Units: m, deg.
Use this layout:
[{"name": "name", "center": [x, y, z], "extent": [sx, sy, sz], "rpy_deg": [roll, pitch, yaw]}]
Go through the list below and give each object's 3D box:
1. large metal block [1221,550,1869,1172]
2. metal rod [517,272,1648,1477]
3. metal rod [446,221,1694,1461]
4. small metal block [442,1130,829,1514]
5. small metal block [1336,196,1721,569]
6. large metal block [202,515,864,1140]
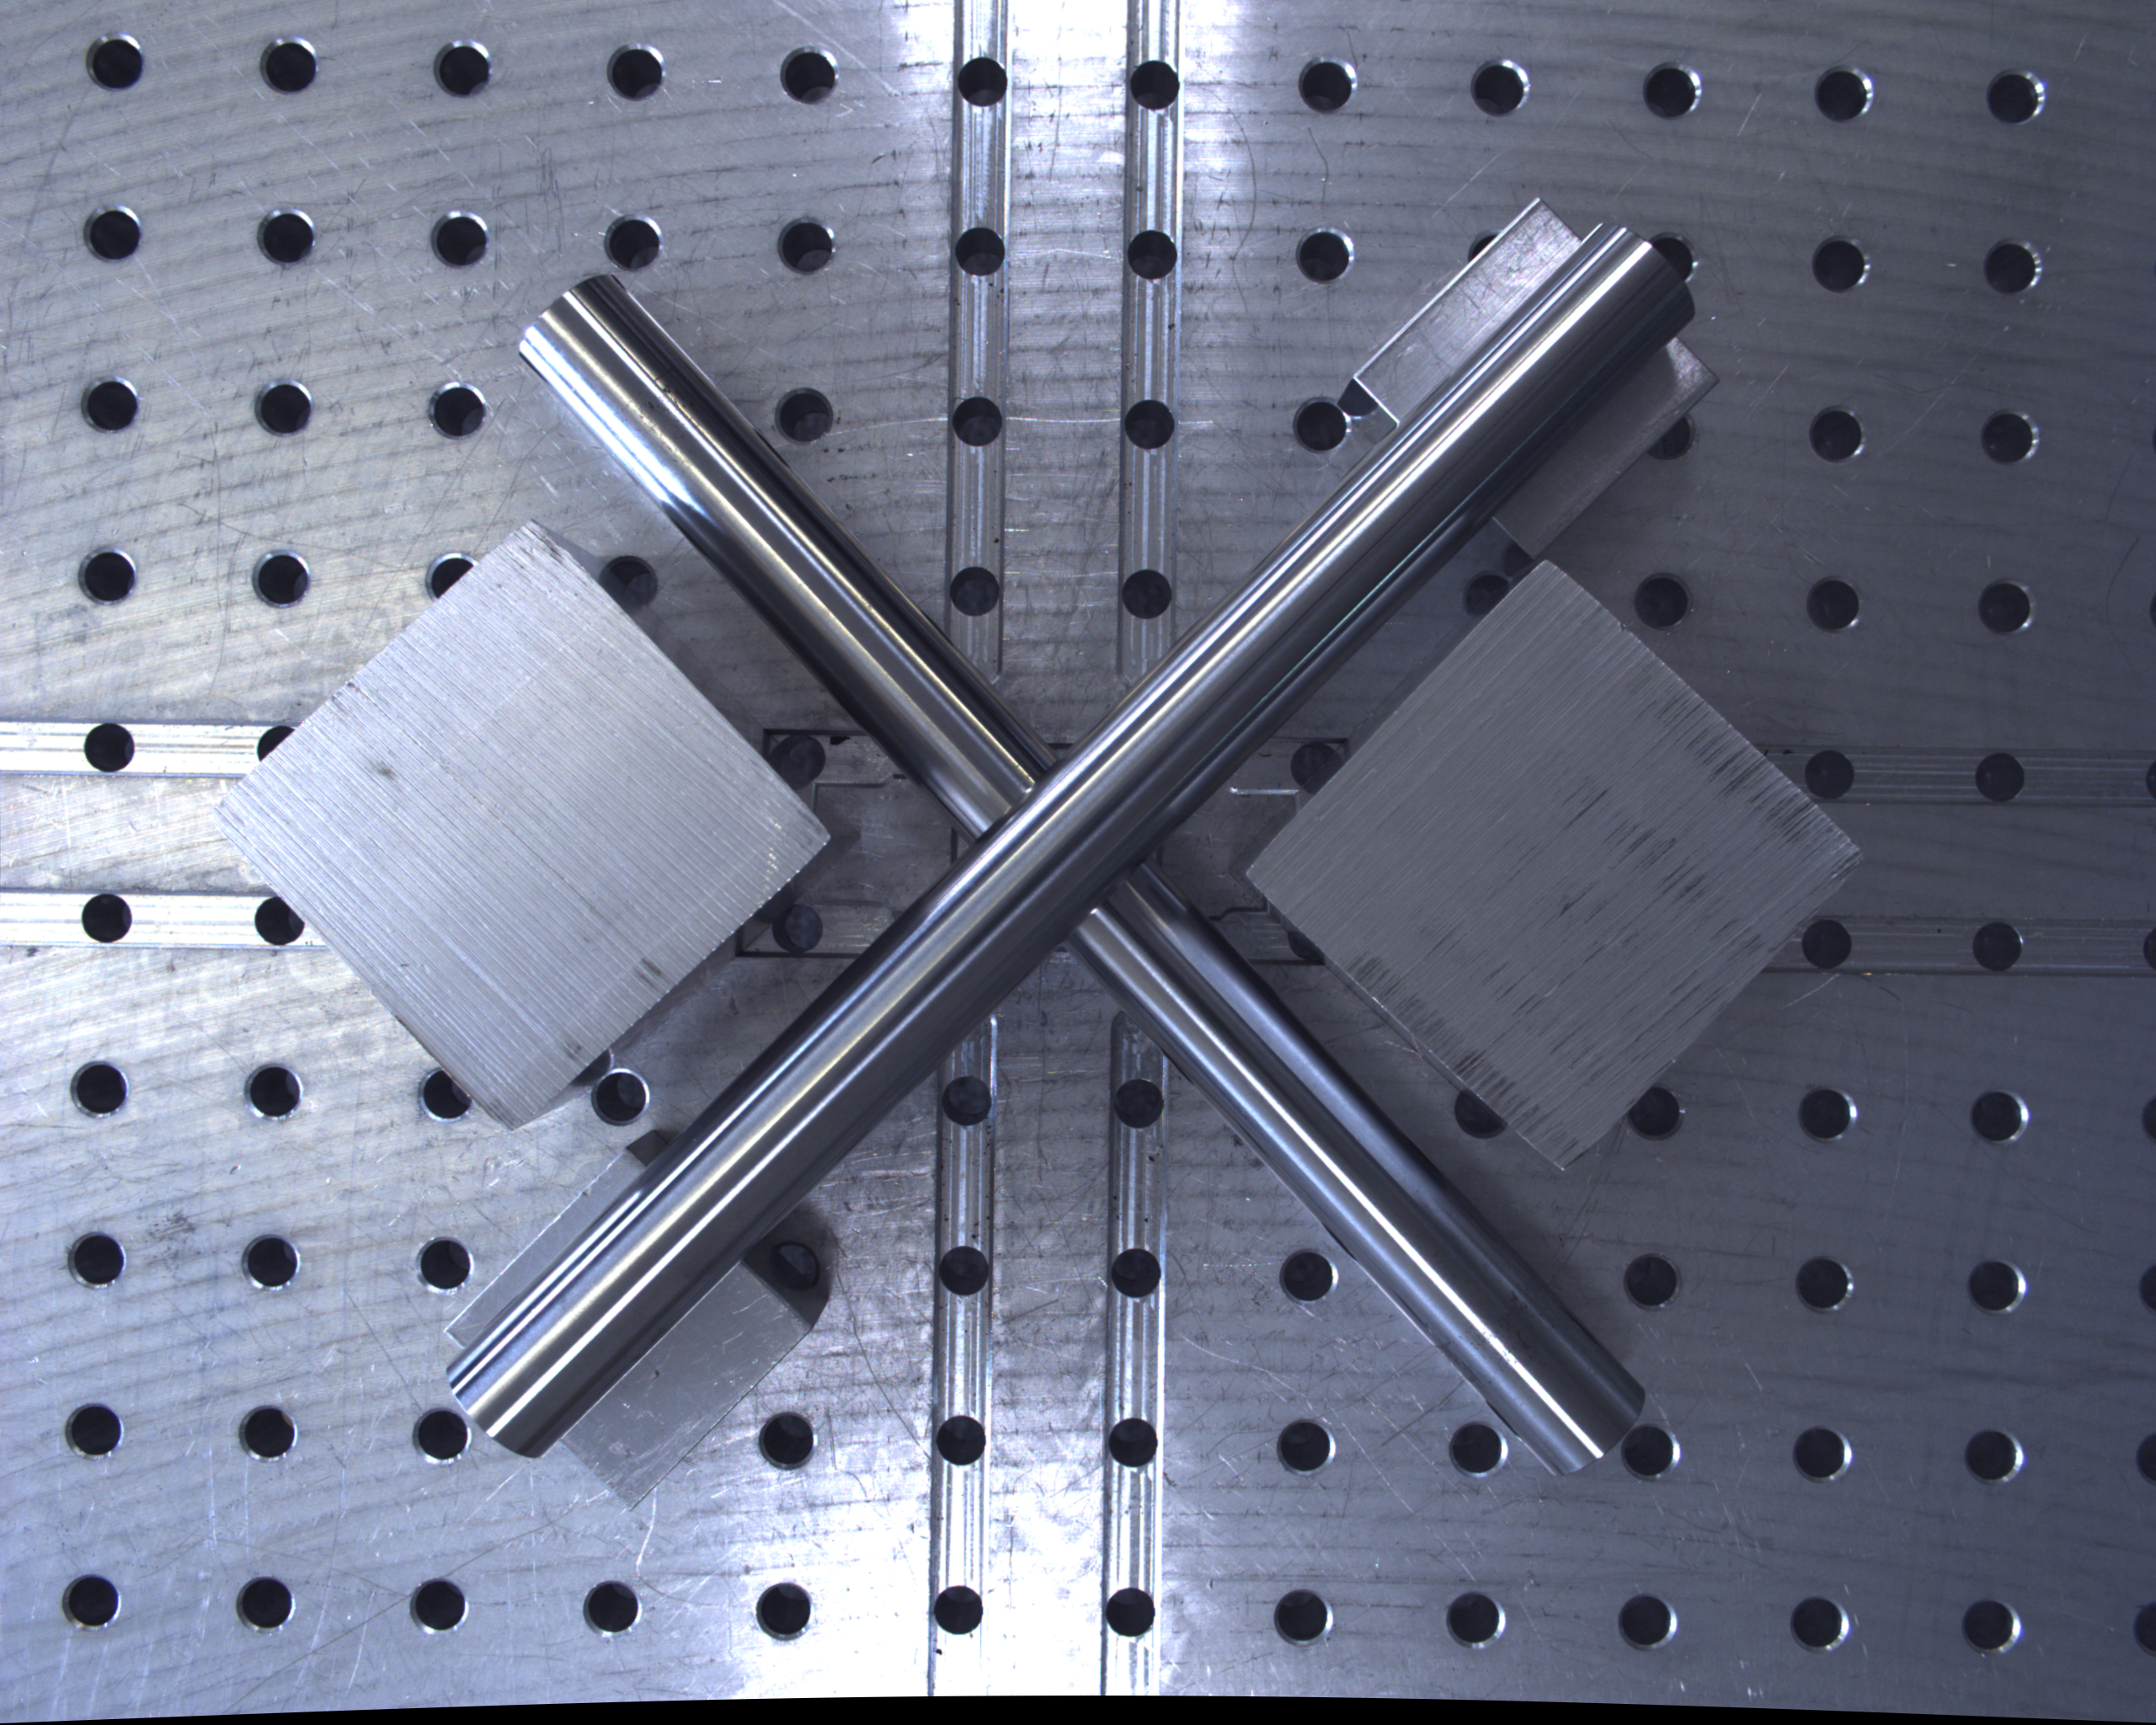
[{"name": "large metal block", "center": [0.086, 0.000, 0.401], "extent": [0.080, 0.050, 0.080], "rpy_deg": [43, 90, 0]}, {"name": "metal rod", "center": [0.001, 0.002, 0.412], "extent": [0.025, 0.025, 0.300], "rpy_deg": [-43, 90, 0]}, {"name": "metal rod", "center": [-0.001, -0.004, 0.388], "extent": [0.300, 0.025, 0.025], "rpy_deg": [-45, 90, 0]}, {"name": "small metal block", "center": [-0.086, 0.090, 0.413], "extent": [0.050, 0.025, 0.050], "rpy_deg": [45, 90, 0]}, {"name": "small metal block", "center": [0.088, -0.093, 0.414], "extent": [0.050, 0.025, 0.050], "rpy_deg": [-44, 90, 0]}, {"name": "large metal block", "center": [-0.101, -0.006, 0.400], "extent": [0.080, 0.050, 0.080], "rpy_deg": [-43, 90, 0]}]
